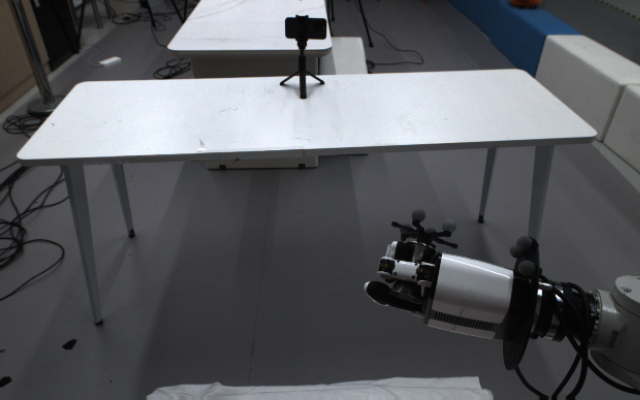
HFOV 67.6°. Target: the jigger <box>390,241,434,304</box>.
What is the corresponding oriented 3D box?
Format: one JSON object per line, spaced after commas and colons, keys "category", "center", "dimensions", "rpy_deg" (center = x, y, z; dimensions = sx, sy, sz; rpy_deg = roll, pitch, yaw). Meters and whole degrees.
{"category": "jigger", "center": [0.118, 0.087, 0.608], "dimensions": [0.043, 0.043, 0.071], "rpy_deg": [16, 70, 19]}
